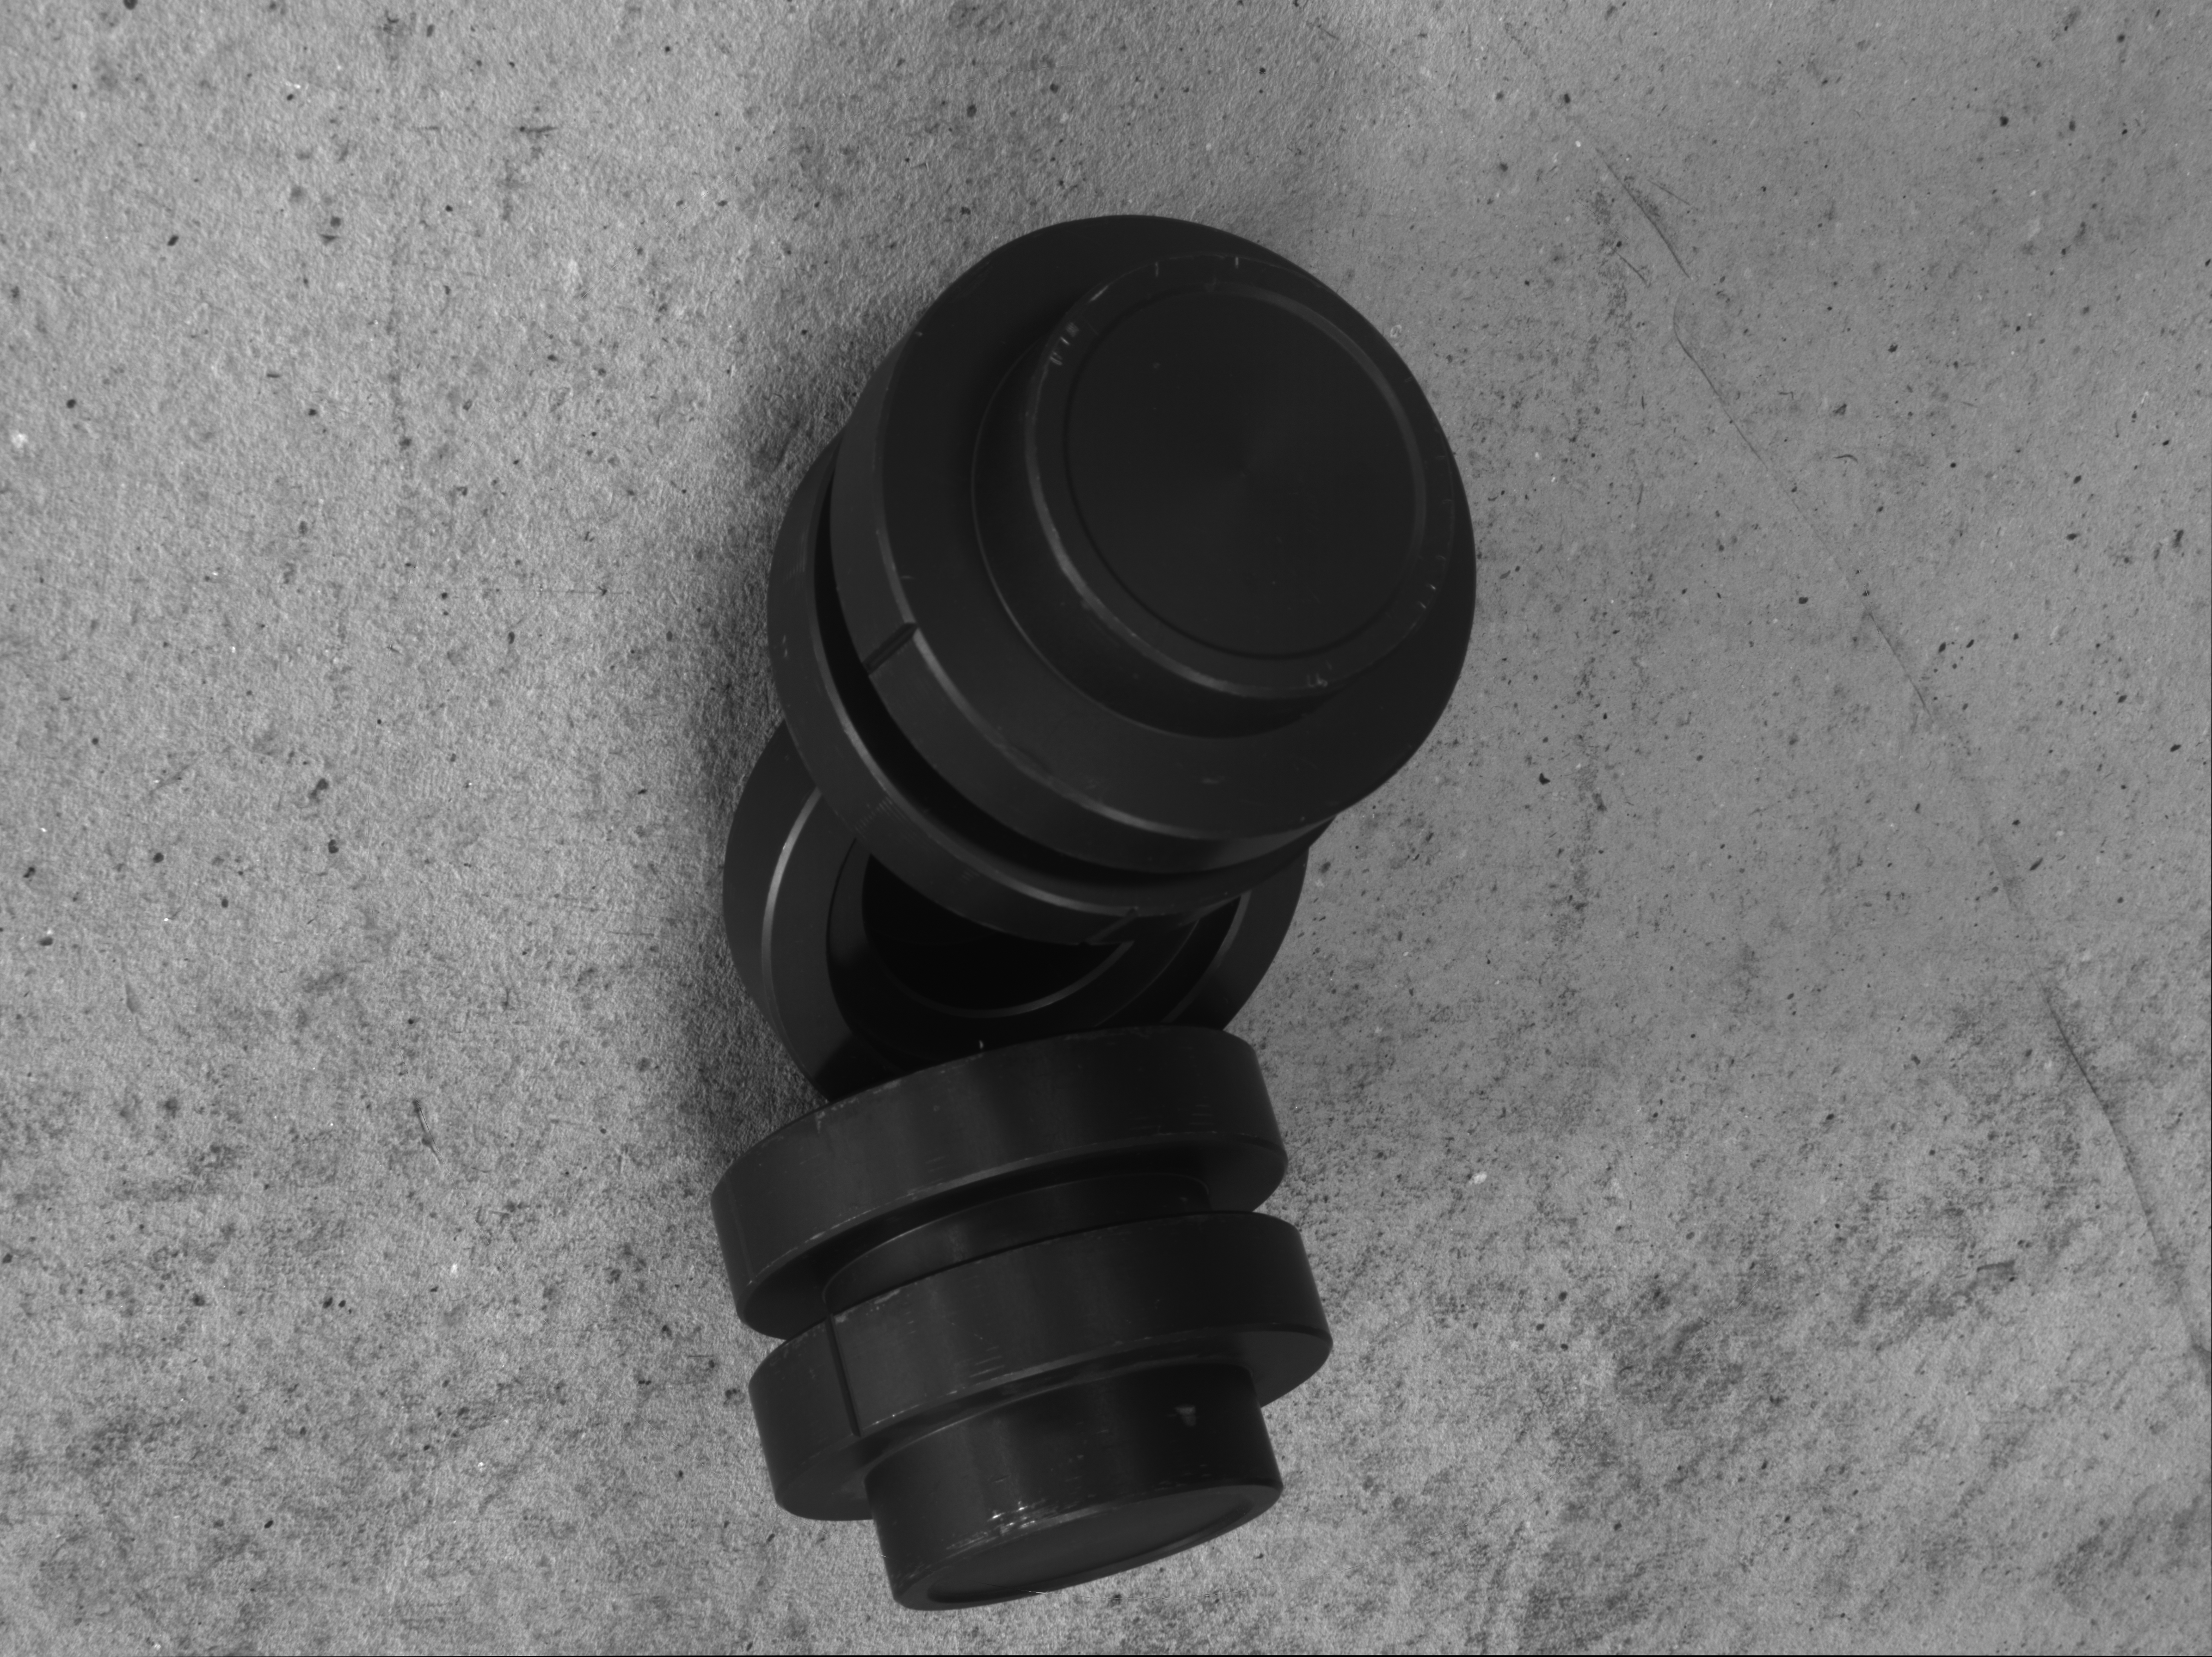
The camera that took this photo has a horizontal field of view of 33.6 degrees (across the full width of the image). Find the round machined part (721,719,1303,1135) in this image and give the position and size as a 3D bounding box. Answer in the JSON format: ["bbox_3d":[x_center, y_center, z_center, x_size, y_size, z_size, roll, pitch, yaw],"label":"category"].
[{"bbox_3d":[-0.019,0.001,0.618,0.098,0.042,0.098,-14,124,-21],"label":"round machined part"}]

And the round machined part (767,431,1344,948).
[{"bbox_3d":[0.000,-0.034,0.571,0.098,0.042,0.098,7,73,-23],"label":"round machined part"}]

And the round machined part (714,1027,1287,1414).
[{"bbox_3d":[-0.015,0.072,0.630,0.098,0.042,0.098,-14,160,-5],"label":"round machined part"}]

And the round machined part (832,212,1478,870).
[{"bbox_3d":[0.012,-0.046,0.543,0.098,0.042,0.098,7,73,-22],"label":"round machined part"}]

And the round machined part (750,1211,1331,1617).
[{"bbox_3d":[-0.008,0.103,0.622,0.098,0.042,0.098,-15,159,-6],"label":"round machined part"}]
